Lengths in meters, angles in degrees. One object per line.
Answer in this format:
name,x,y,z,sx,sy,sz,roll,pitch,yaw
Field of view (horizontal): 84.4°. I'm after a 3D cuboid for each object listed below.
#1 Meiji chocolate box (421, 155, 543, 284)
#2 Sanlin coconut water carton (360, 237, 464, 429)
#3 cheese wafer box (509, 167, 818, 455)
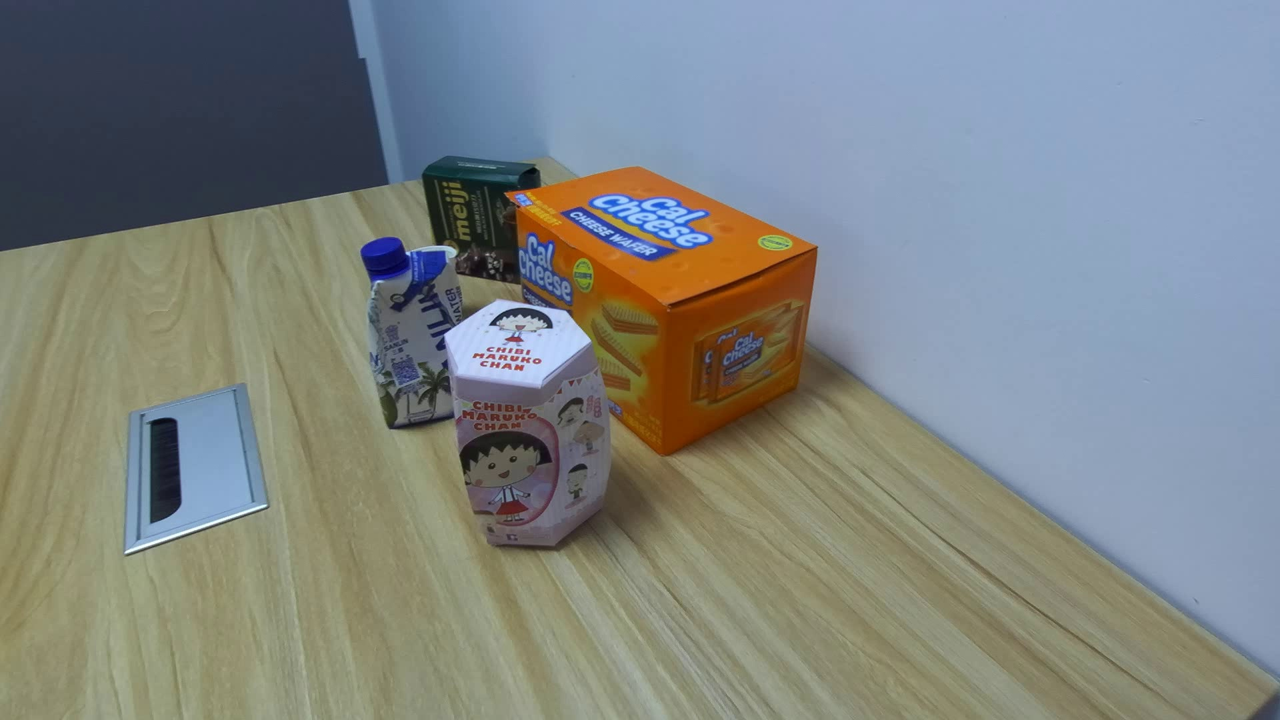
Meiji chocolate box,-0.156,-0.145,0.722,0.122,0.116,0.058,13,36,17
Sanlin coconut water carton,-0.164,-0.019,0.520,0.069,0.144,0.056,-4,39,-19
cheese wafer box,0.008,-0.057,0.578,0.150,0.137,0.226,-24,41,-29
